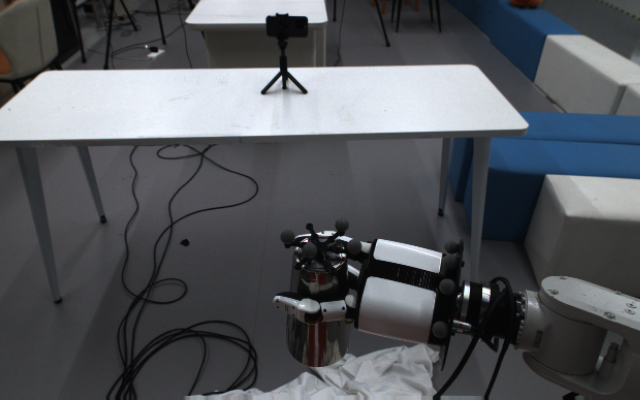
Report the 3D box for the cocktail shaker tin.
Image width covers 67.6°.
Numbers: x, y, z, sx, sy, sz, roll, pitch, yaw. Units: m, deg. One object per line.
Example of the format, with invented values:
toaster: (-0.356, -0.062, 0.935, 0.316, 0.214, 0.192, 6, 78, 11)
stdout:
cocktail shaker tin: (0.003, 0.127, 0.636, 0.093, 0.170, 0.093, 1, 39, 0)
